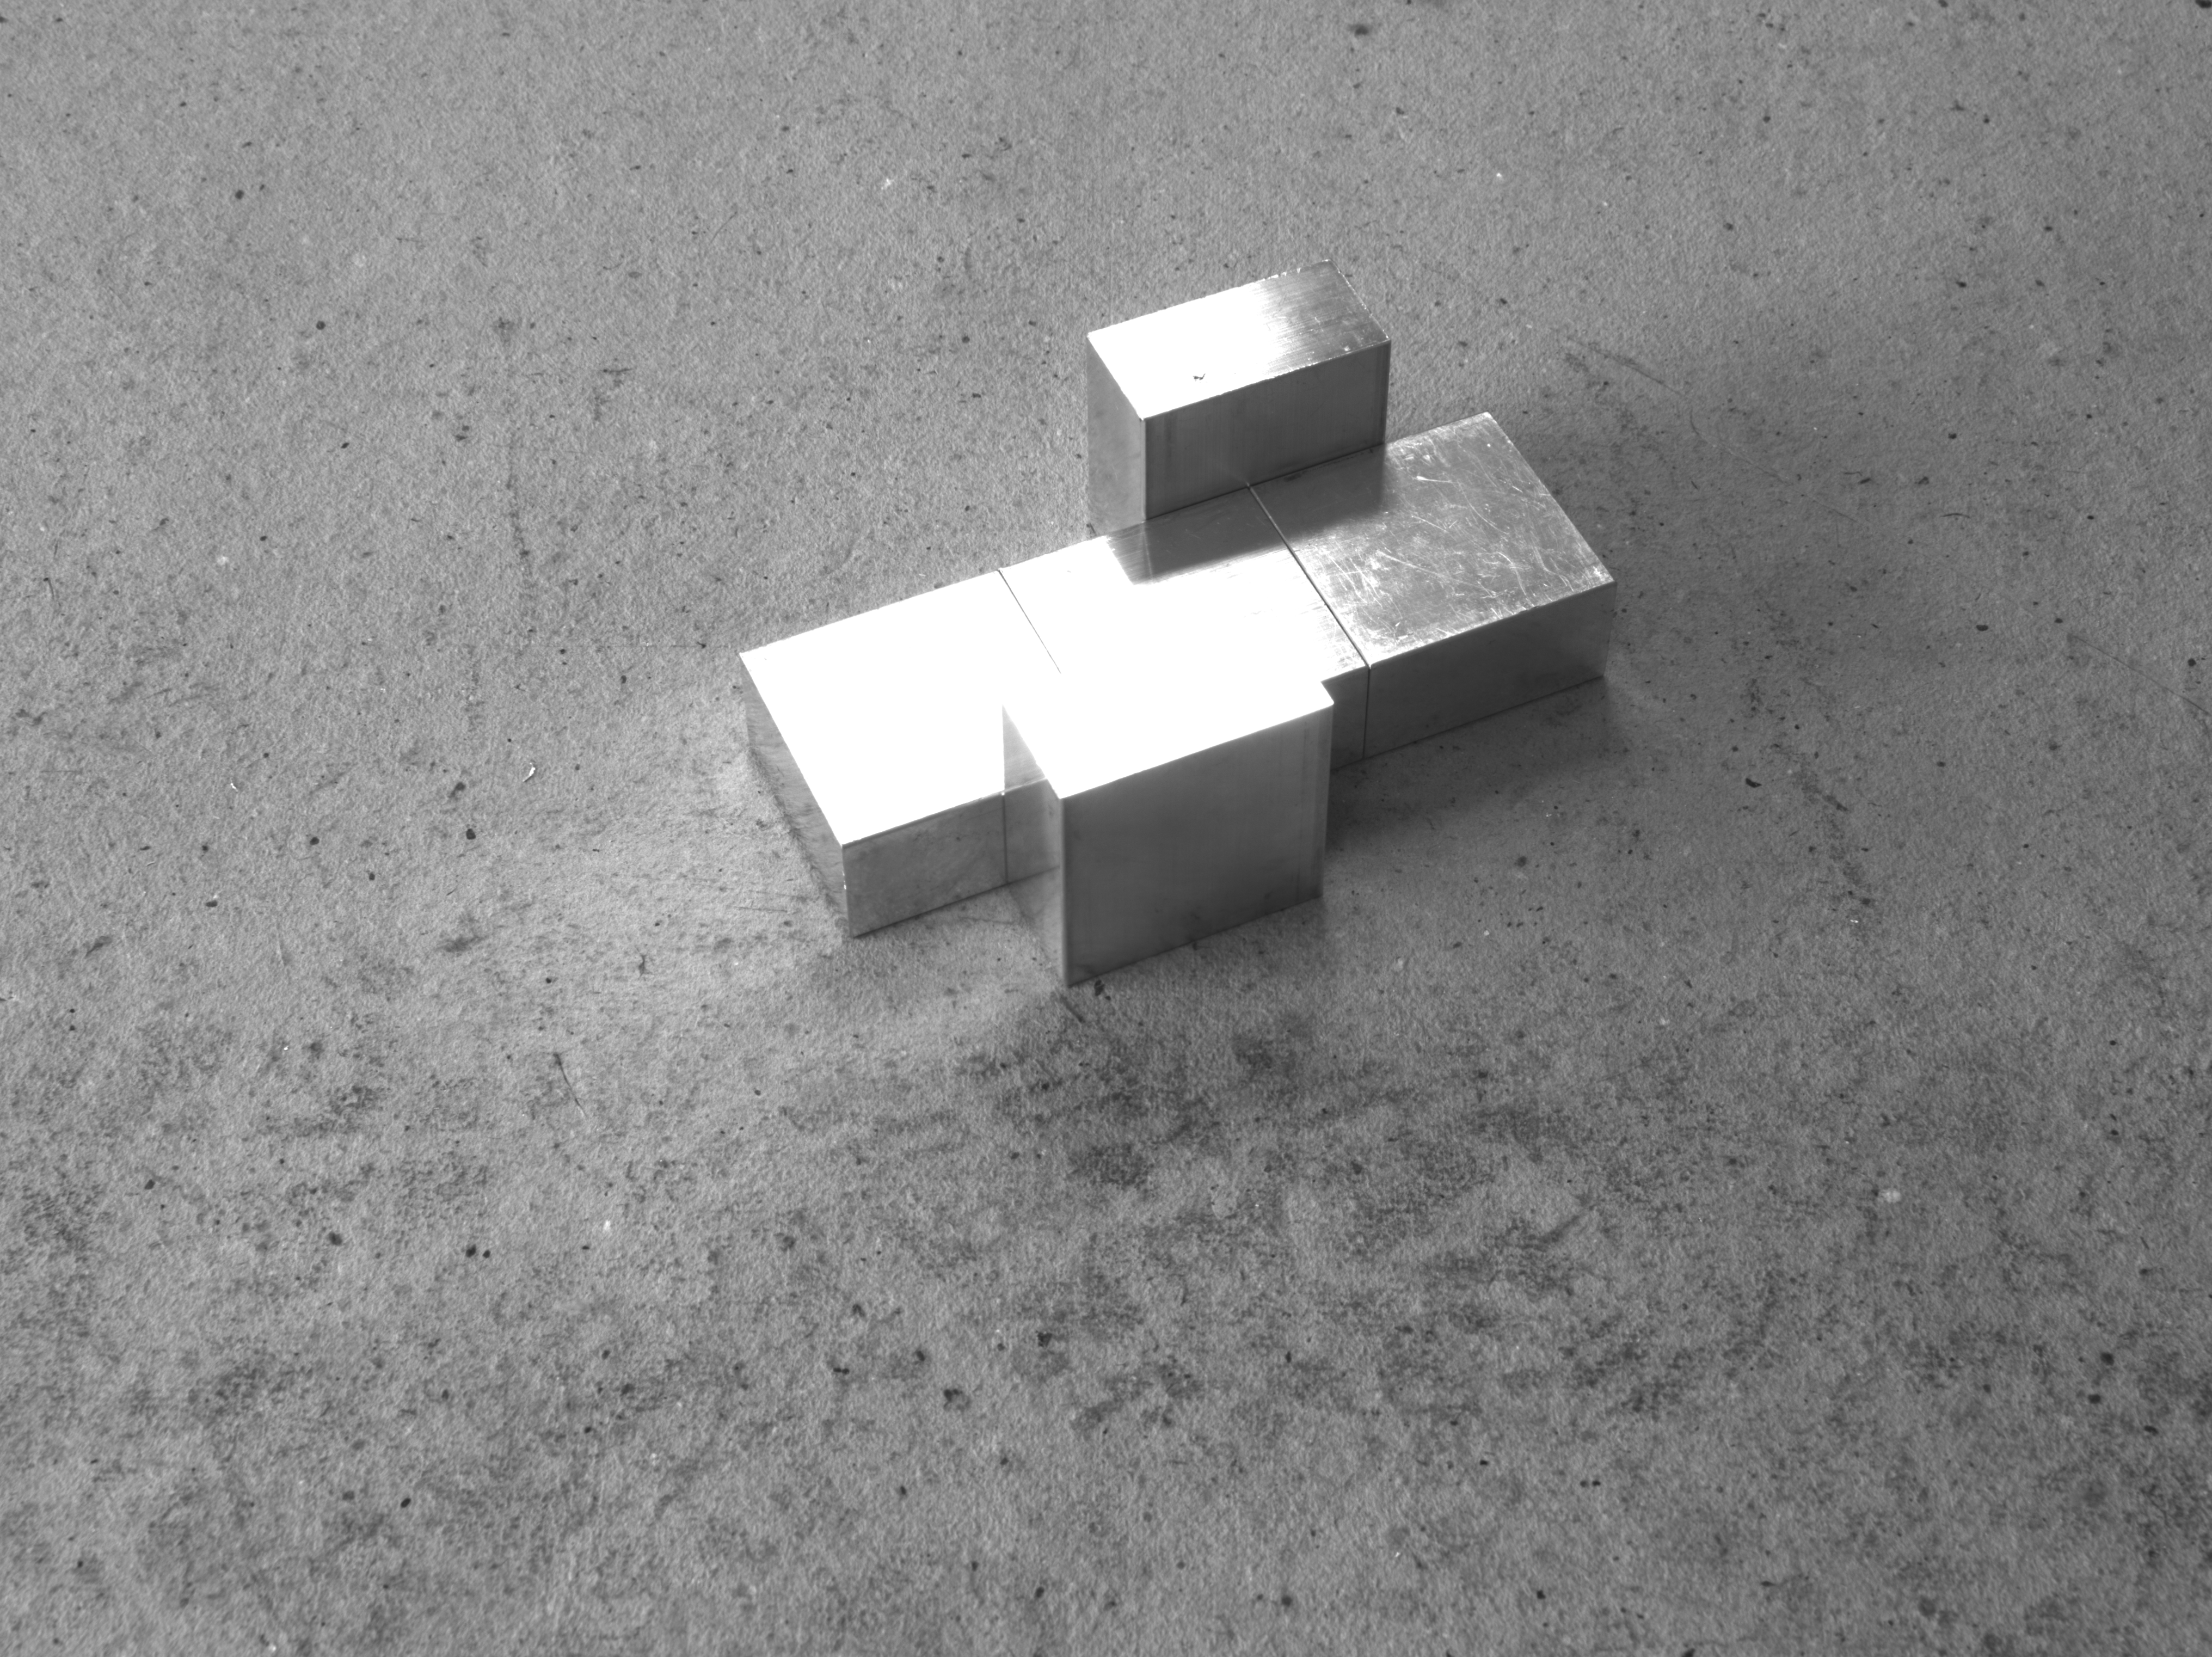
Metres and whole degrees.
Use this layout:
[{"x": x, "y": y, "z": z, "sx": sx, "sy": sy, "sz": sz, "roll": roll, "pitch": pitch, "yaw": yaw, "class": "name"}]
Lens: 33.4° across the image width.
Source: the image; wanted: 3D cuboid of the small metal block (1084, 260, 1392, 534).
[{"x": 0.024, "y": -0.073, "z": 0.689, "sx": 0.050, "sy": 0.050, "sz": 0.025, "roll": -20, "pitch": 52, "yaw": -15, "class": "small metal block"}]

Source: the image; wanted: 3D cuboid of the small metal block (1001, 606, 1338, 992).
[{"x": 0.011, "y": -0.005, "z": 0.631, "sx": 0.050, "sy": 0.050, "sz": 0.025, "roll": -20, "pitch": 52, "yaw": -15, "class": "small metal block"}]

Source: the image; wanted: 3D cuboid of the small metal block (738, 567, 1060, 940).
[{"x": -0.032, "y": -0.014, "z": 0.654, "sx": 0.050, "sy": 0.025, "sz": 0.050, "roll": -19, "pitch": 53, "yaw": -15, "class": "small metal block"}]

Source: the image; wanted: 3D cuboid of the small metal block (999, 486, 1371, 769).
[{"x": 0.014, "y": -0.030, "z": 0.668, "sx": 0.050, "sy": 0.025, "sz": 0.050, "roll": -19, "pitch": 53, "yaw": -15, "class": "small metal block"}]

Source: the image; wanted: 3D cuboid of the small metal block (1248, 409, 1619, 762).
[{"x": 0.059, "y": -0.046, "z": 0.681, "sx": 0.050, "sy": 0.025, "sz": 0.050, "roll": -19, "pitch": 53, "yaw": -15, "class": "small metal block"}]
